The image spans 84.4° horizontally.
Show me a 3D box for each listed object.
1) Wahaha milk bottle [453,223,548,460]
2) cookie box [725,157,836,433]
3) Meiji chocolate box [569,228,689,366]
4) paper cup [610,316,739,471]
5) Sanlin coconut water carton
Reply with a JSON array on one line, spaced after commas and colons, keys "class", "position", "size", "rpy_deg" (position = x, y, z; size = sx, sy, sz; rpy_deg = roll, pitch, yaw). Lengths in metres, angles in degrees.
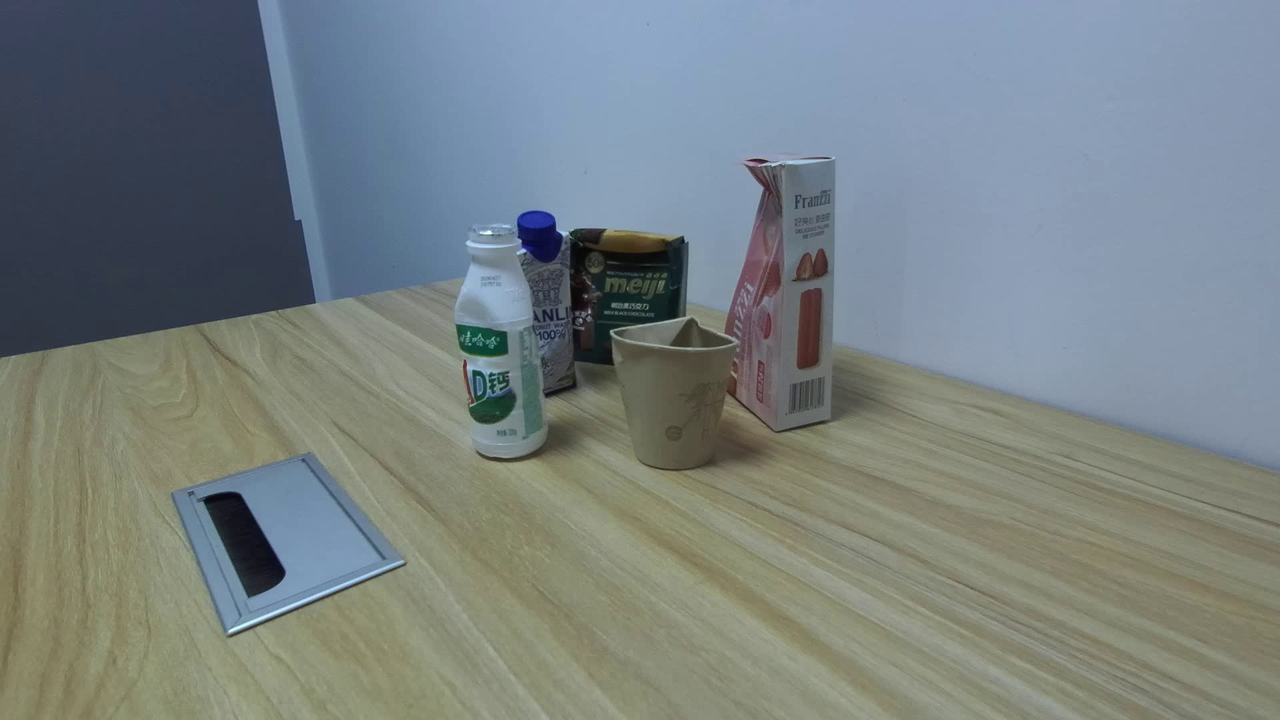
[{"class": "Wahaha milk bottle", "position": [-0.088, -0.011, 0.459], "size": [0.055, 0.149, 0.055], "rpy_deg": [0, 18, 0]}, {"class": "cookie box", "position": [0.098, -0.053, 0.512], "size": [0.055, 0.184, 0.118], "rpy_deg": [-5, 20, -11]}, {"class": "Meiji chocolate box", "position": [-0.015, -0.055, 0.641], "size": [0.113, 0.110, 0.058], "rpy_deg": [6, 18, 20]}, {"class": "paper cup", "position": [0.021, 0.022, 0.451], "size": [0.066, 0.084, 0.071], "rpy_deg": [-9, 21, -23]}, {"class": "Sanlin coconut water carton", "position": [-0.088, -0.044, 0.557], "size": [0.061, 0.144, 0.069], "rpy_deg": [-15, 24, -33]}]
